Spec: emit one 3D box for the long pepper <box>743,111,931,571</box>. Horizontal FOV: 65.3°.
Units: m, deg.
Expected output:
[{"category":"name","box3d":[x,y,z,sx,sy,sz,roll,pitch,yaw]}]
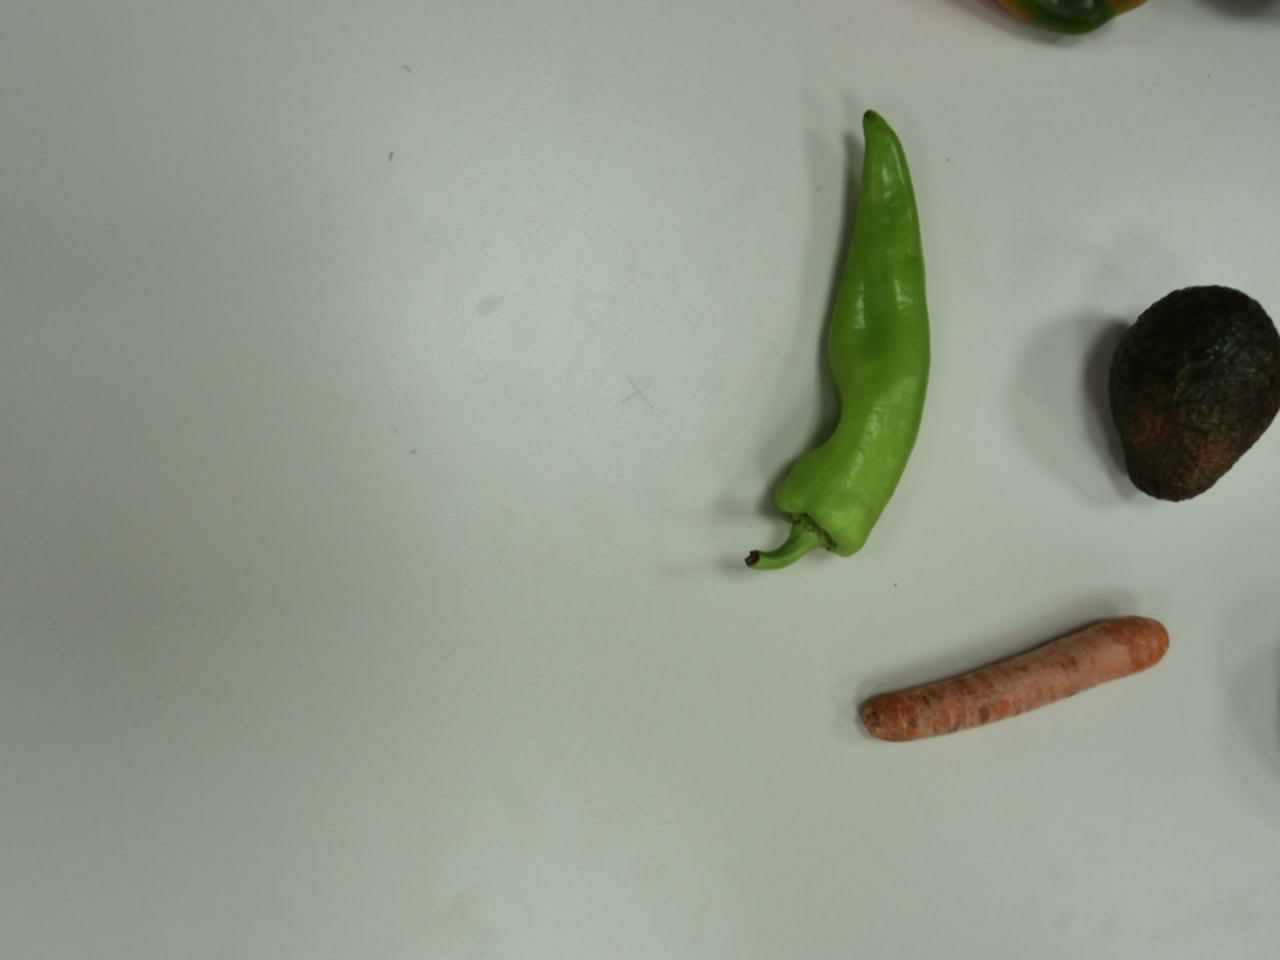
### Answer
[{"category":"long pepper","box3d":[0.099,-0.054,0.434,0.065,0.045,0.204,17,87,-11]}]
